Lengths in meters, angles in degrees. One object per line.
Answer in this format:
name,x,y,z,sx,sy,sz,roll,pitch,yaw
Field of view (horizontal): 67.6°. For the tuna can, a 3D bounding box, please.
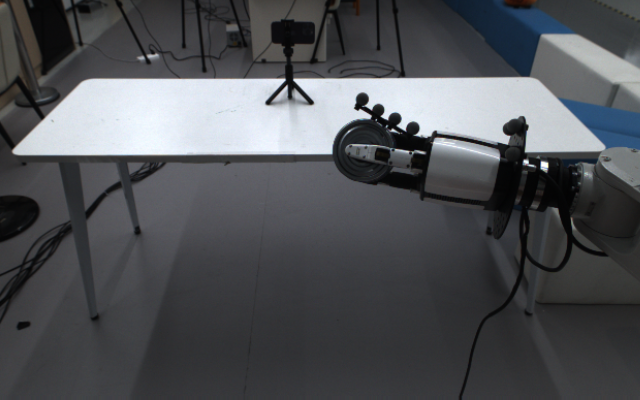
tuna can,0.064,-0.060,0.656,0.085,0.085,0.034,12,4,15
